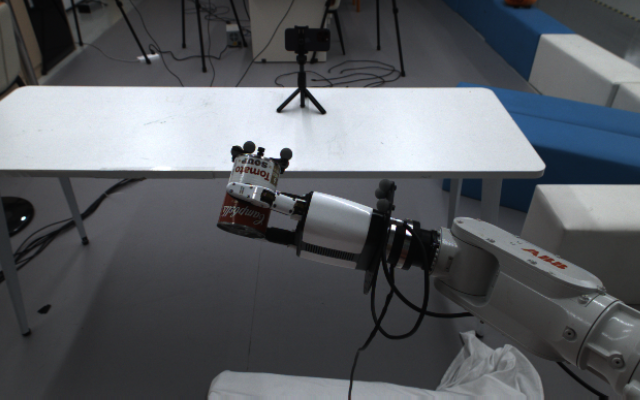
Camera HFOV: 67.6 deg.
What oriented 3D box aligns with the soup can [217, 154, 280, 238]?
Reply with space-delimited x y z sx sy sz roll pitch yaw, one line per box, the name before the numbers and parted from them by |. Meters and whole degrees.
soup can | -0.096 -0.004 0.668 0.067 0.067 0.101 9 74 9
